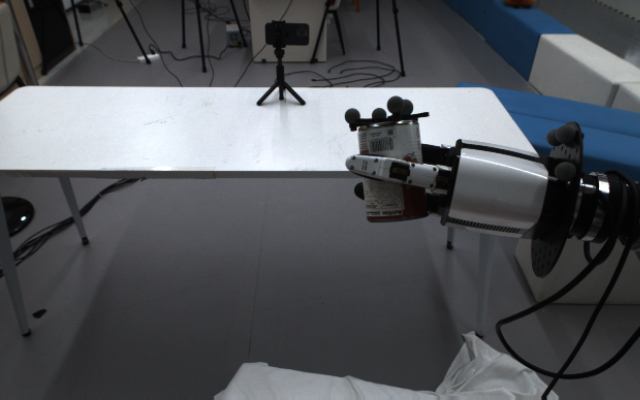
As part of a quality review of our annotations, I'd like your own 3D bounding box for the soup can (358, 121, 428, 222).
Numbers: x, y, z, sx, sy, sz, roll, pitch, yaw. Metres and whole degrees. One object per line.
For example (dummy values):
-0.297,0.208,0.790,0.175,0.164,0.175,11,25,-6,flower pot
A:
0.082,-0.031,0.524,0.067,0.101,0.067,-7,3,0,soup can
